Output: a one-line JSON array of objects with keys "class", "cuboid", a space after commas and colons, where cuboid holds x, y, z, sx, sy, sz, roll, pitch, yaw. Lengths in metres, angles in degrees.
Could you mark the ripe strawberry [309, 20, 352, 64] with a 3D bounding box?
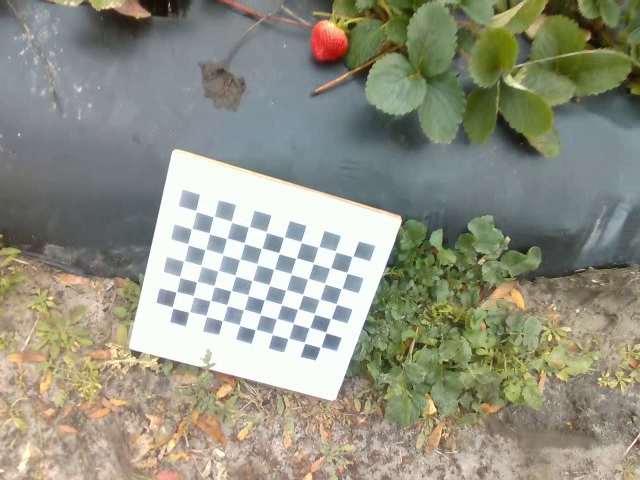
[{"class": "ripe strawberry", "cuboid": [0.005, -0.288, 0.877, 0.061, 0.065, 0.050, 25, 12, -13]}]
